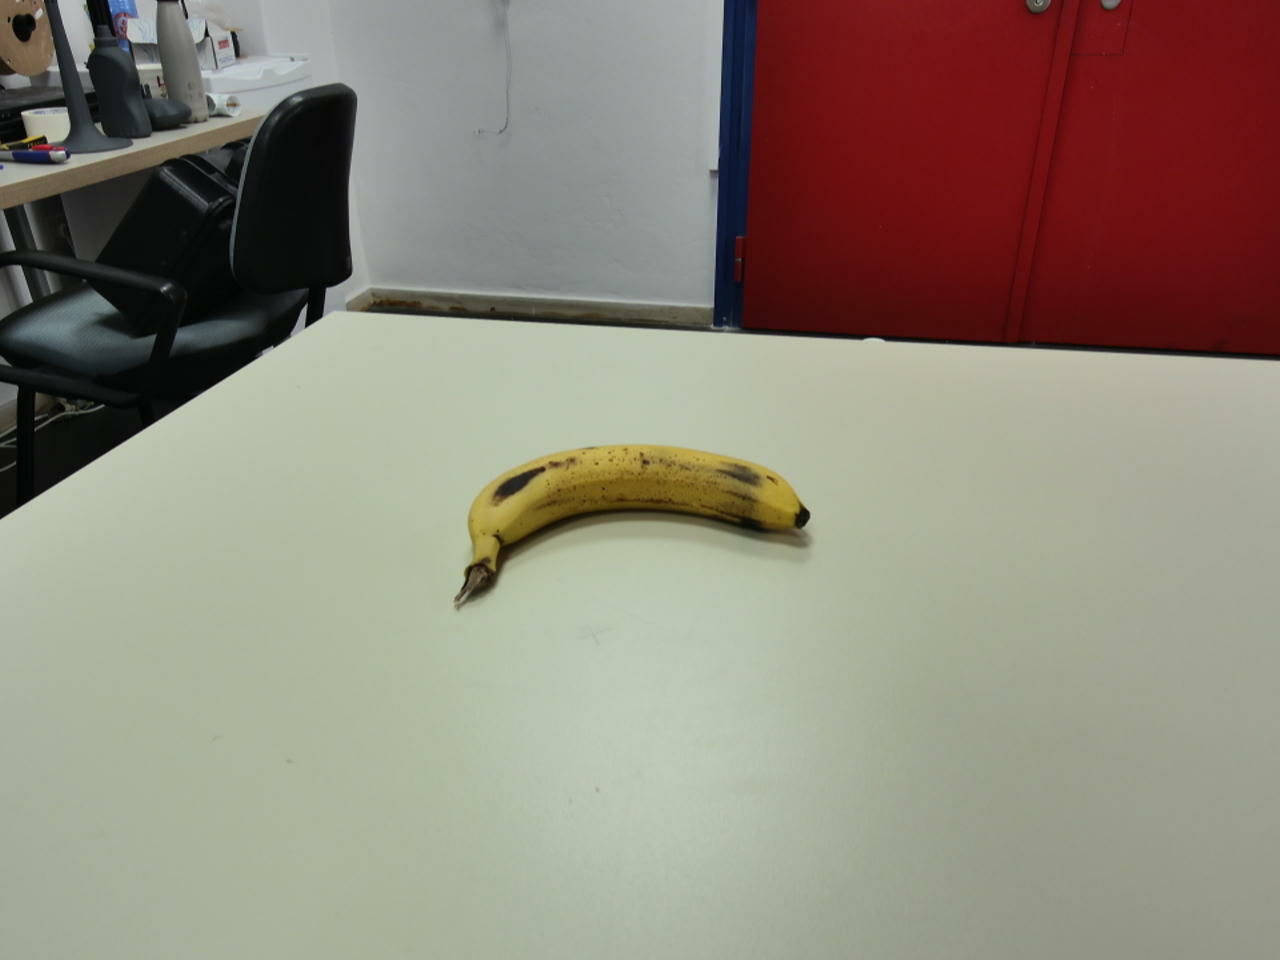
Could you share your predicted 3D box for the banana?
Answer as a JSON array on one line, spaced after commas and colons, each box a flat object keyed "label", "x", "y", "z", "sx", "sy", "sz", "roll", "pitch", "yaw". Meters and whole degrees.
[{"label": "banana", "x": -0.009, "y": 0.012, "z": 0.550, "sx": 0.186, "sy": 0.038, "sz": 0.097, "roll": -7, "pitch": 26, "yaw": -14}]
